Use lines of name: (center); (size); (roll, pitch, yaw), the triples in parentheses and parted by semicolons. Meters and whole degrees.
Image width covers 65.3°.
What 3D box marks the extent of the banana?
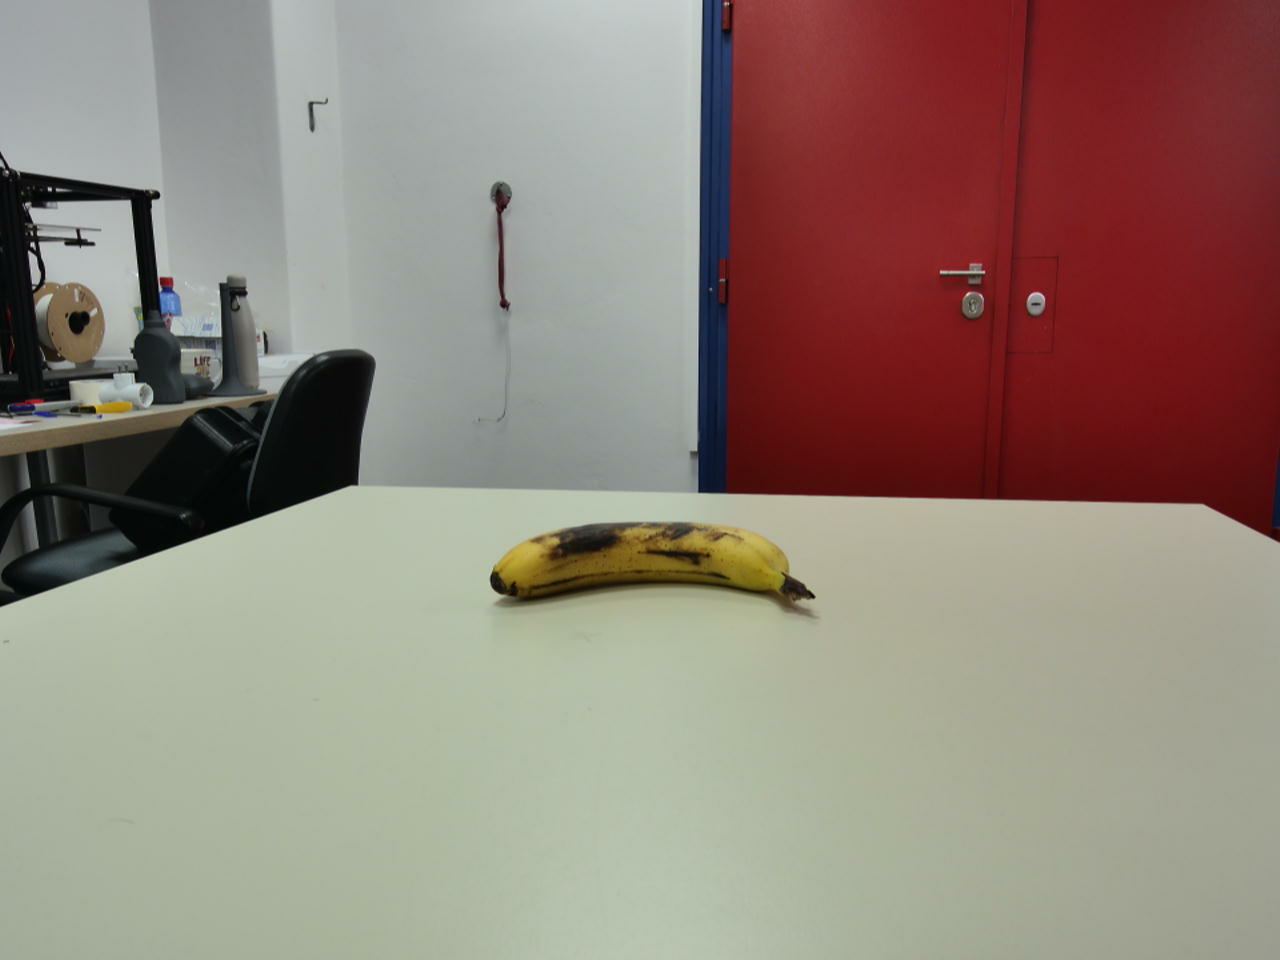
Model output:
banana: (0.010, 0.050, 0.608); (0.187, 0.039, 0.094); (1, 7, 9)
